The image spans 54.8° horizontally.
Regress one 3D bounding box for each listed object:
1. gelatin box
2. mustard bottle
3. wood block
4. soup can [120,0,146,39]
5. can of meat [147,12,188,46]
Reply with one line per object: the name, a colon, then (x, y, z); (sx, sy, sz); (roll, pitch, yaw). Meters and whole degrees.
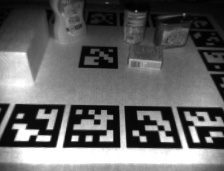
gelatin box: (0.078, -0.083, 0.569); (0.089, 0.030, 0.073); (7, 47, 7)
mustard bottle: (-0.135, -0.215, 0.585); (0.097, 0.192, 0.058); (-18, 48, -21)
wood block: (-0.234, -0.110, 0.539); (0.091, 0.090, 0.205); (3, 41, -2)
soup can: (0.058, -0.195, 0.622); (0.068, 0.102, 0.067); (1, 47, 0)
can of meat: (0.155, -0.164, 0.624); (0.102, 0.084, 0.057); (-8, 47, -14)
